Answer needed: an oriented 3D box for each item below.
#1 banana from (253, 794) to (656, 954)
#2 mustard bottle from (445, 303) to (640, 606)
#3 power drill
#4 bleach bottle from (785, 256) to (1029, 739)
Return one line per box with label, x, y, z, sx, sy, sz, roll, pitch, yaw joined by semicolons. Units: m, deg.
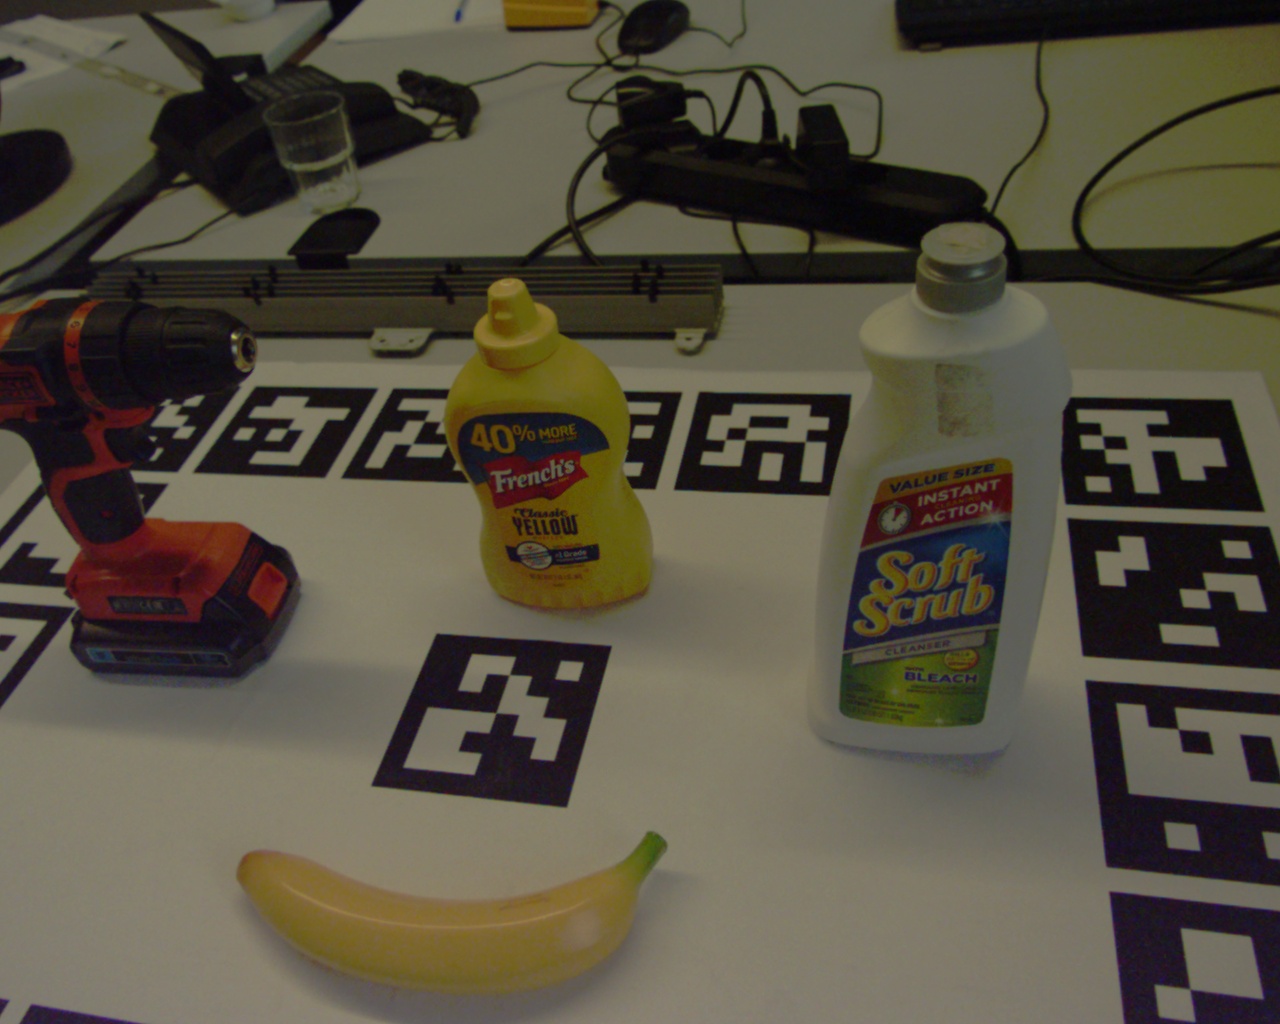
banana;-0.092;0.164;0.523;0.198;0.038;0.074;-3;45;13
mustard bottle;-0.056;-0.030;0.627;0.096;0.190;0.058;-1;43;7
power drill;-0.252;-0.029;0.621;0.186;0.185;0.057;-4;43;13
bleach bottle;0.114;0.000;0.513;0.103;0.249;0.067;9;46;19
